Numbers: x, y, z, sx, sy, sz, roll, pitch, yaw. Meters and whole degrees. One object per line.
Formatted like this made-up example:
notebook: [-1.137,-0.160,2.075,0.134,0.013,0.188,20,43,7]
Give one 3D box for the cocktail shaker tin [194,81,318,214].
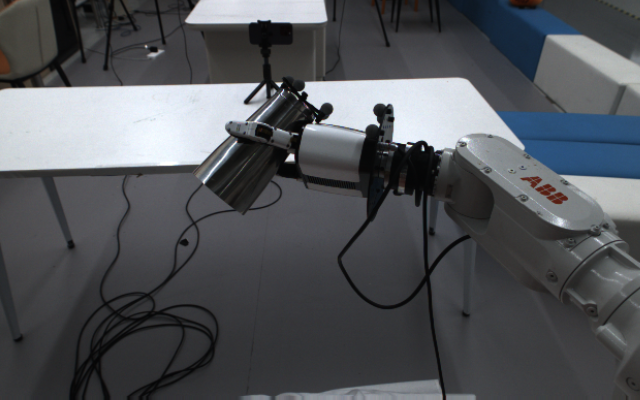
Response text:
cocktail shaker tin: [-0.087,-0.076,0.680,0.170,0.093,0.093,-48,49,-4]
